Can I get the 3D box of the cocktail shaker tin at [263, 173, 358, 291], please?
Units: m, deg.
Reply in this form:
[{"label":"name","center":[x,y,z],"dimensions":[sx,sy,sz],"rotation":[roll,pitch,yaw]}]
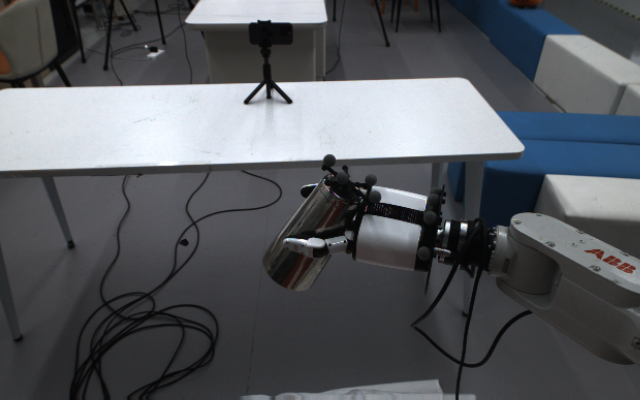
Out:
[{"label":"cocktail shaker tin","center":[-0.007,0.041,0.717],"dimensions":[0.093,0.170,0.093],"rotation":[26,32,-18]}]
